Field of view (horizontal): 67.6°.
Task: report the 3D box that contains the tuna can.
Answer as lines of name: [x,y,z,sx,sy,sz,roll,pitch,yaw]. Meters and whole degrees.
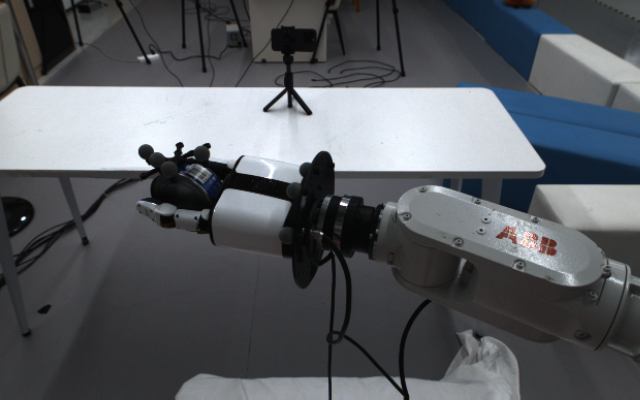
tuna can: [-0.155,-0.005,0.580,0.085,0.085,0.034,14,39,16]
